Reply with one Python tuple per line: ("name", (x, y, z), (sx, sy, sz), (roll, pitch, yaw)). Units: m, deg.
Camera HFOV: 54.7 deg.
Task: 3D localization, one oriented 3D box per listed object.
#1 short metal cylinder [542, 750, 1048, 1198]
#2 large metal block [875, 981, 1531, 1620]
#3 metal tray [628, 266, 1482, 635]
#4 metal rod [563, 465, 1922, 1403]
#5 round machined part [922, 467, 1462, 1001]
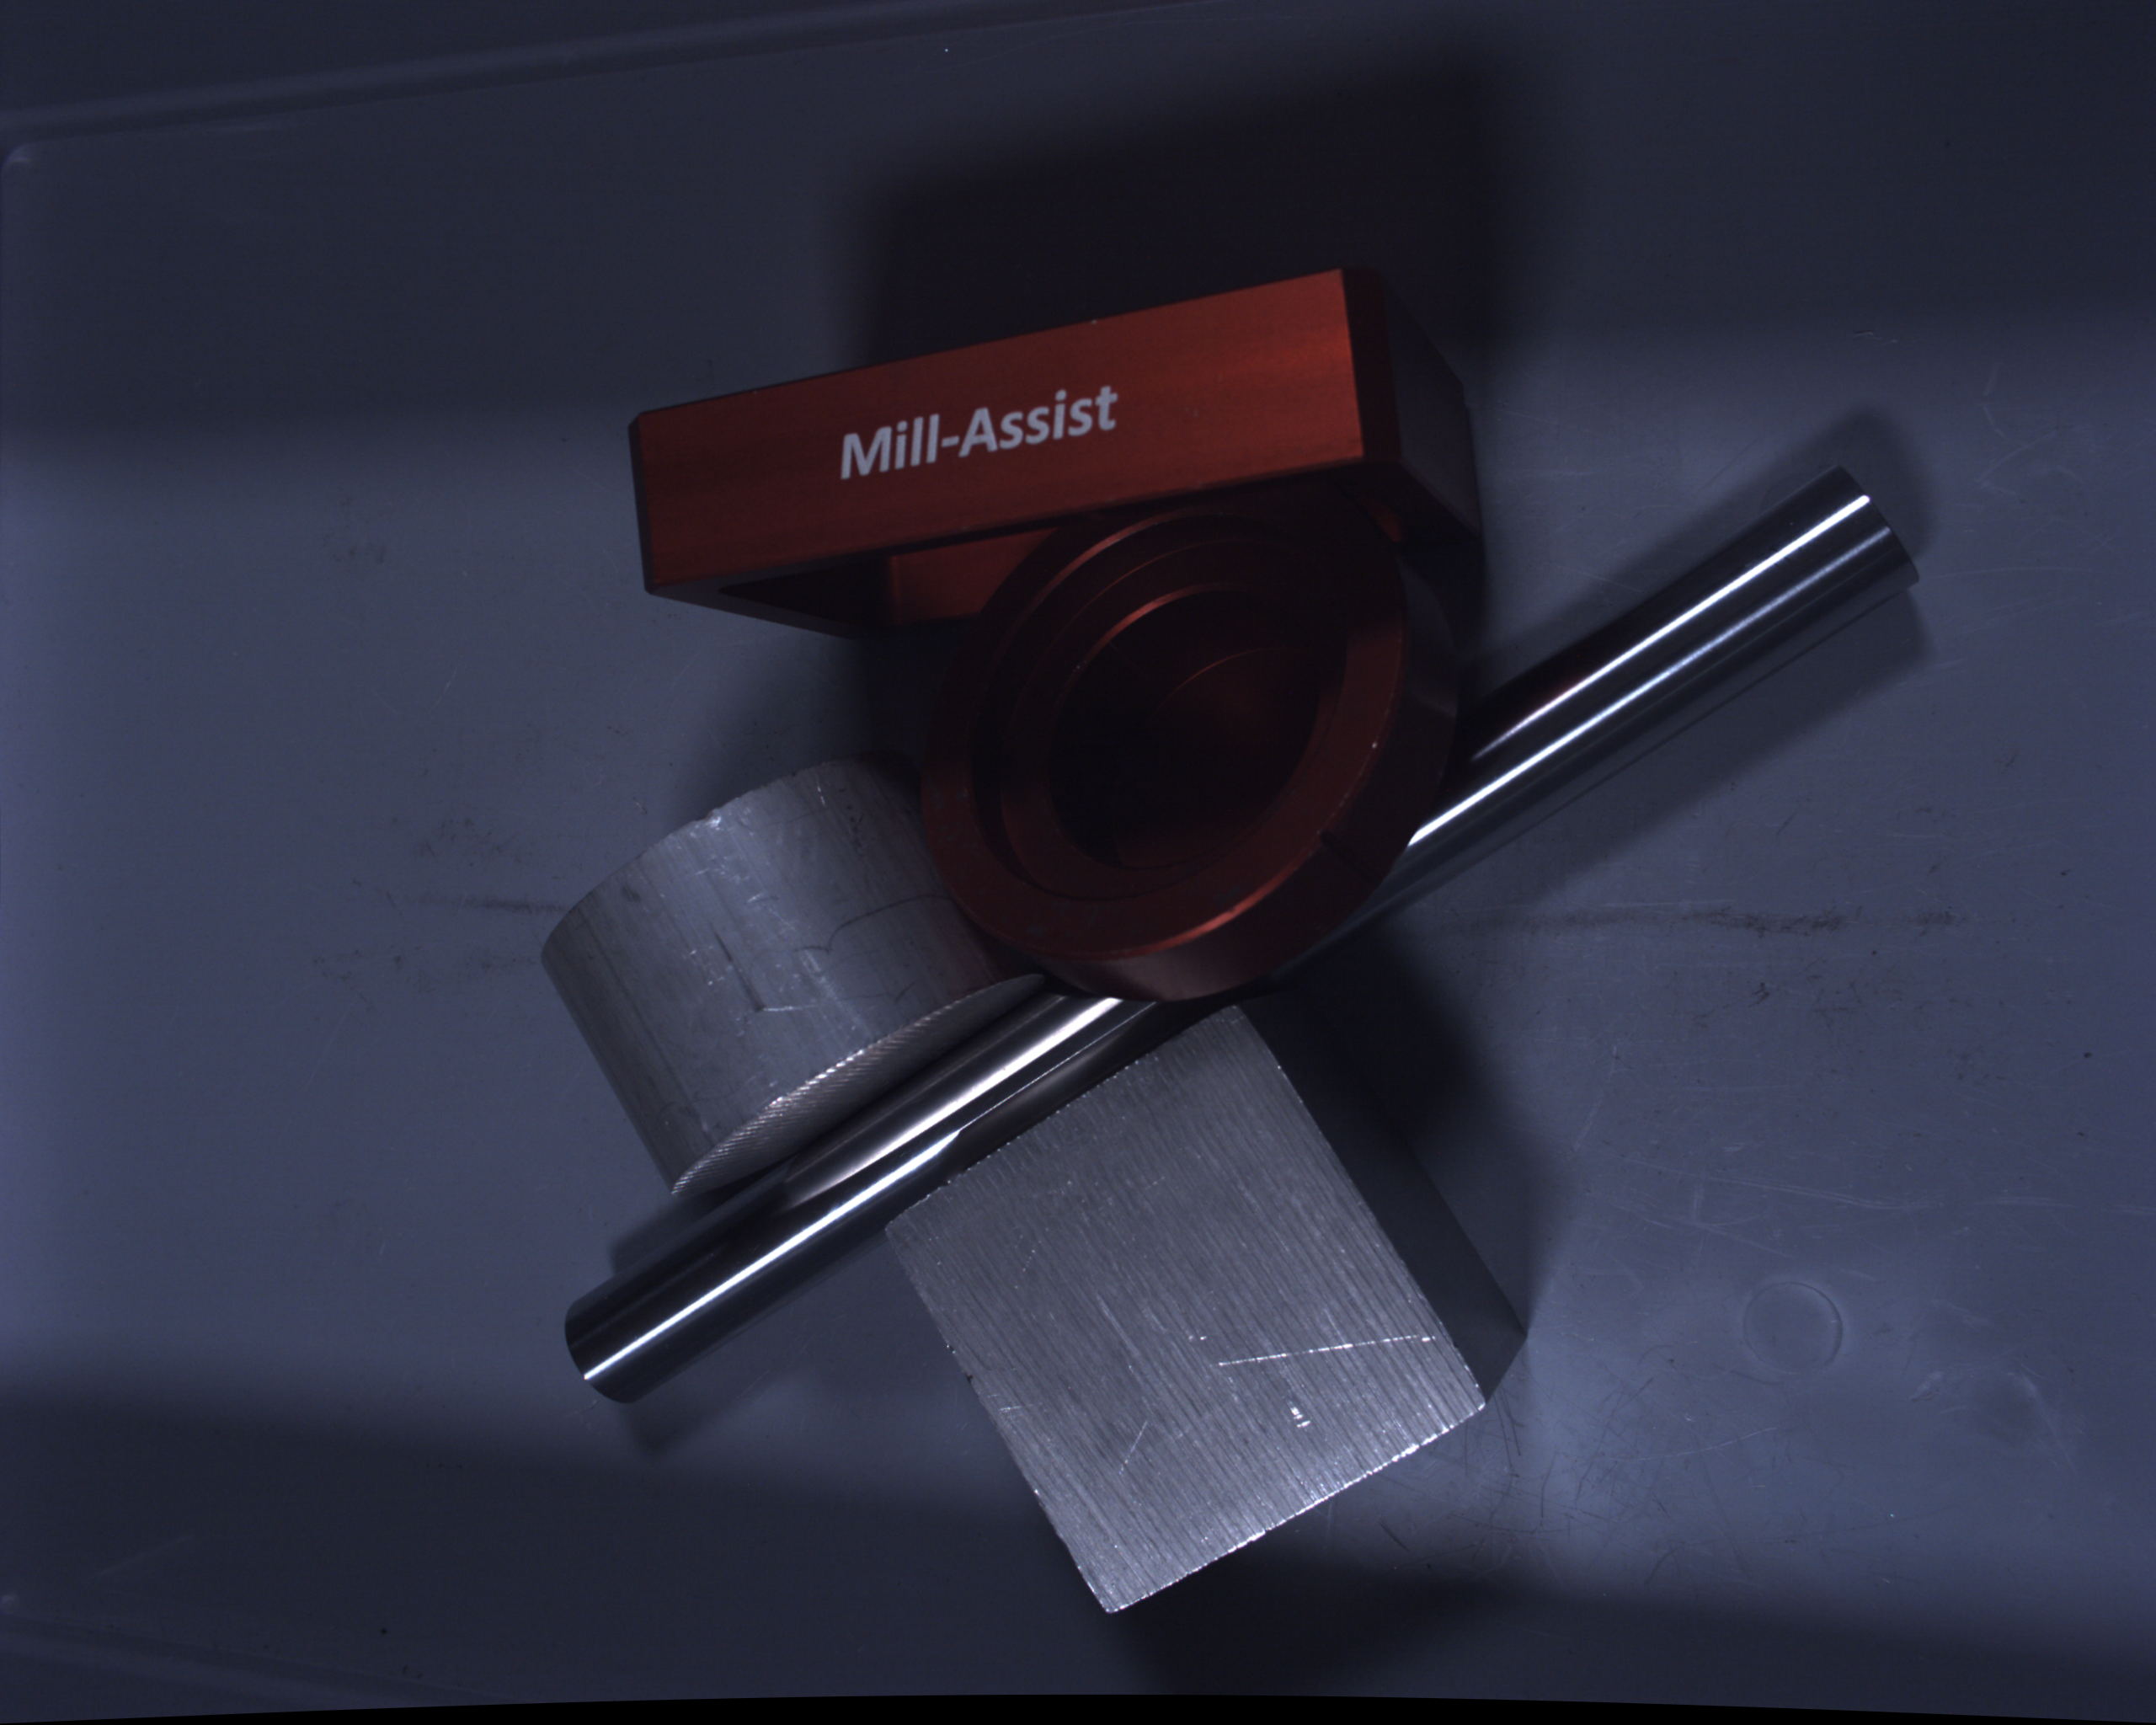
("short metal cylinder", (-0.053, 0.022, 0.397), (0.080, 0.080, 0.050), (-35, 79, 16))
("large metal block", (0.024, 0.078, 0.385), (0.080, 0.050, 0.080), (-34, 79, 16))
("metal tray", (-0.001, -0.068, 0.373), (0.130, 0.090, 0.030), (-7, 88, 19))
("metal rod", (0.019, 0.022, 0.401), (0.300, 0.025, 0.025), (-34, 79, 16))
("round machined part", (0.024, -0.020, 0.376), (0.098, 0.042, 0.098), (-17, 57, 28))
